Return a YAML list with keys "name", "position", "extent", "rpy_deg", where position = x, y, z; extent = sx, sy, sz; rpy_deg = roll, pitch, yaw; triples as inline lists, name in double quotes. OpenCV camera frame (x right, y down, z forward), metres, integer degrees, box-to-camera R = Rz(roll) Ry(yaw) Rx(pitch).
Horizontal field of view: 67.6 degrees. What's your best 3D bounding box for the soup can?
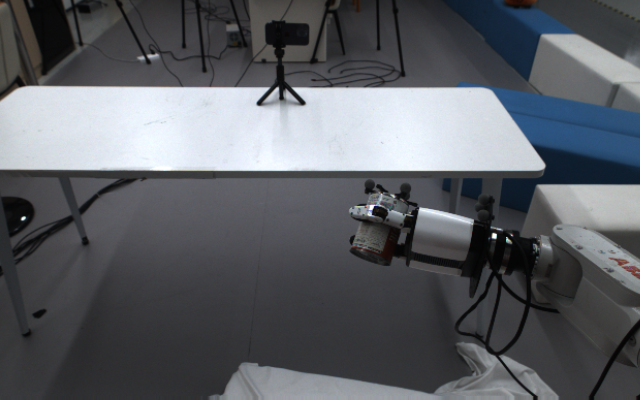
- name: "soup can"
  position: [0.096, 0.046, 0.770]
  extent: [0.067, 0.067, 0.101]
  rpy_deg: [16, 75, 19]
